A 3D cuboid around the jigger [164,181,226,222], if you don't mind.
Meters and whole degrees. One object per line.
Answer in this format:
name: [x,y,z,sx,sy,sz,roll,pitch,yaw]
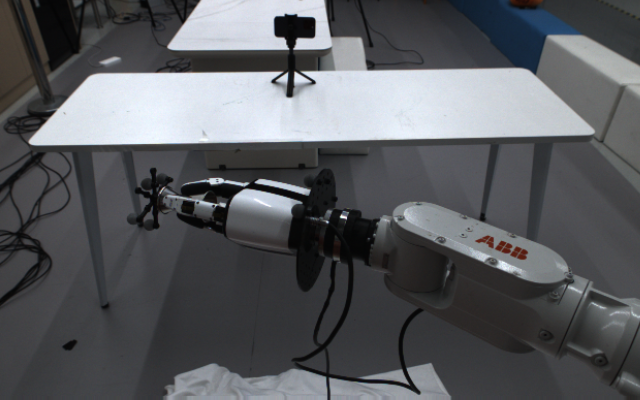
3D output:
jigger: [-0.176,0.001,0.662,0.071,0.043,0.043,7,35,14]
